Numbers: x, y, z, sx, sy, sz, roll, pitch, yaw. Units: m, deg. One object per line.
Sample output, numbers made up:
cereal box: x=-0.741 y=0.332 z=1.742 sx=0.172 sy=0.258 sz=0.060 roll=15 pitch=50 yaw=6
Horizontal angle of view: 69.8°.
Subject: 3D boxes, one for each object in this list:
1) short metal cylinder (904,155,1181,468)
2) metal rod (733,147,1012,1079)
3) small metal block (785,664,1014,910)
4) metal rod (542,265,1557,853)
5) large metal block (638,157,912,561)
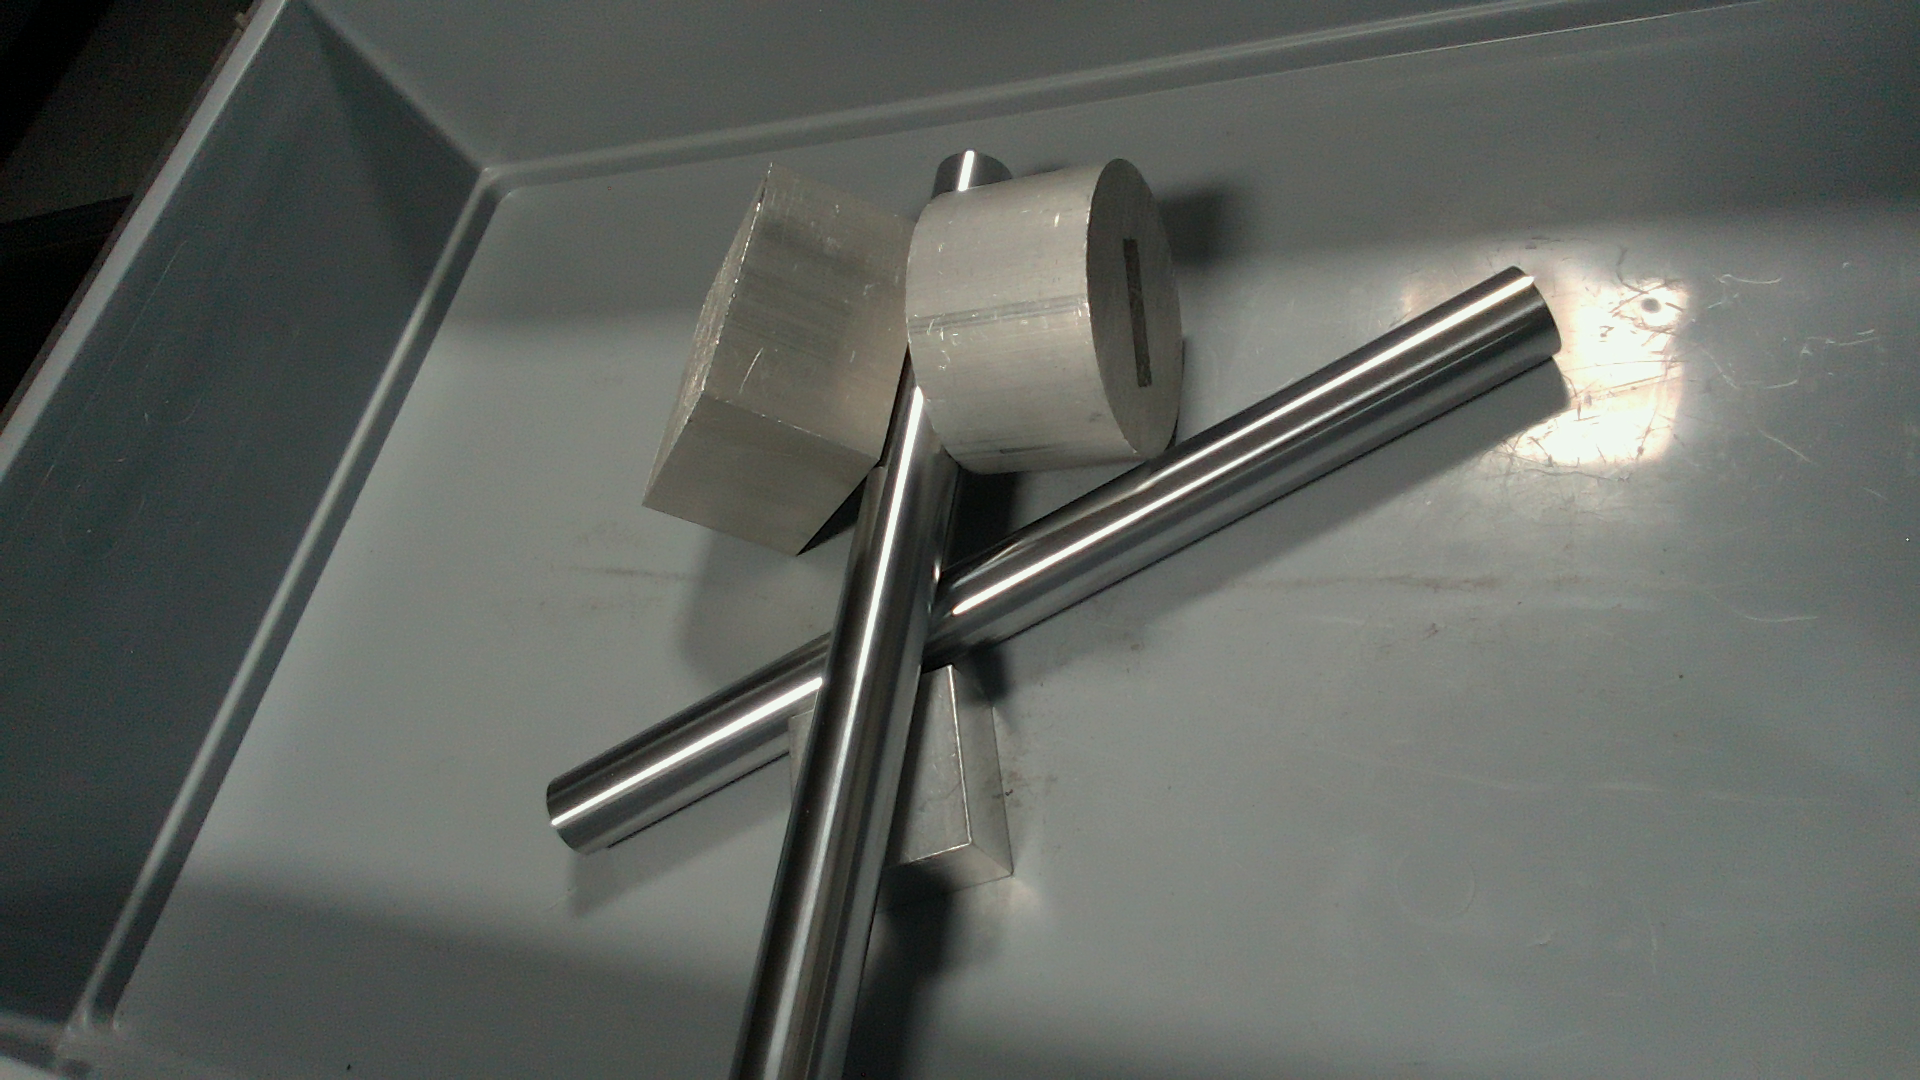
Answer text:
short metal cylinder: x=0.025 y=-0.061 z=0.380 sx=0.050 sy=0.080 sz=0.080 roll=-4 pitch=60 yaw=25
metal rod: x=-0.018 y=0.017 z=0.358 sx=0.025 sy=0.025 sz=0.300 roll=-5 pitch=58 yaw=26
small metal block: x=-0.017 y=0.067 z=0.360 sx=0.050 sy=0.025 sz=0.050 roll=-20 pitch=54 yaw=17
metal rod: x=0.015 y=0.011 z=0.377 sx=0.300 sy=0.025 sz=0.025 roll=-28 pitch=52 yaw=11
large metal block: x=-0.053 y=-0.051 z=0.411 sx=0.080 sy=0.050 sz=0.080 roll=-41 pitch=33 yaw=58
